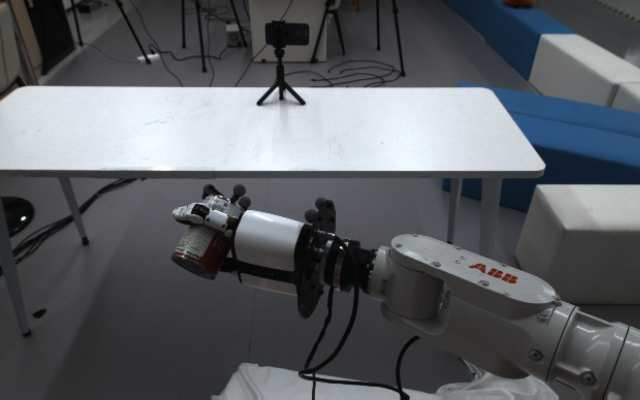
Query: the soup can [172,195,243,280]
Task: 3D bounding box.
[{"bbox_3d":[-0.152,0.052,0.675,0.067,0.067,0.101,16,63,19],"label":"soup can"}]
